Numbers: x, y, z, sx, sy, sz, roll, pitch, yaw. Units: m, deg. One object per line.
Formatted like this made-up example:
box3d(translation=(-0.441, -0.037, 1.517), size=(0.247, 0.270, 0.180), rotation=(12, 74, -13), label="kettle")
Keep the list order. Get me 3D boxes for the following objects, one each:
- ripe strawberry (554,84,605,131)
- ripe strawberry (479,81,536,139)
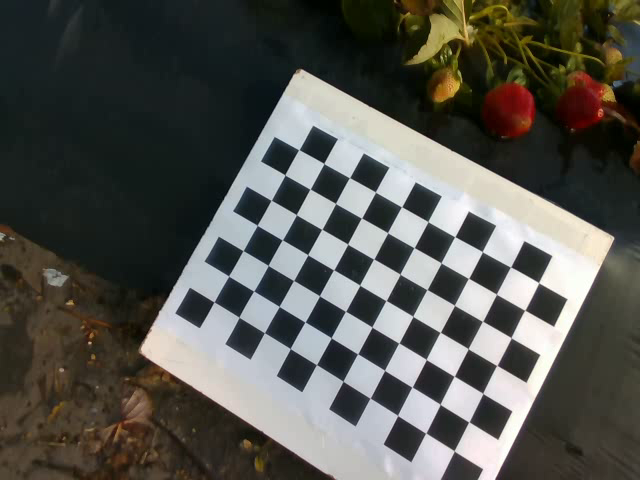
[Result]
box3d(translation=(0.247, -0.124, 0.559), size=(0.044, 0.042, 0.055), rotation=(-34, 30, -1), label="ripe strawberry")
box3d(translation=(0.171, -0.115, 0.521), size=(0.050, 0.050, 0.065), rotation=(-11, 26, 3), label="ripe strawberry")
